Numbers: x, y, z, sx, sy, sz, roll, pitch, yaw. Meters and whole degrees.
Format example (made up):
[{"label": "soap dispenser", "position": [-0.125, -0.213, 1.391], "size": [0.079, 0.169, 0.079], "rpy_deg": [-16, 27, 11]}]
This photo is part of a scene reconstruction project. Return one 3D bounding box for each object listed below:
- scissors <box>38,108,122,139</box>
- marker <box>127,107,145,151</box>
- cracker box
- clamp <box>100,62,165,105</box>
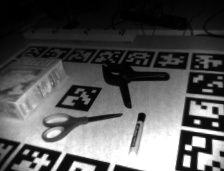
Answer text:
[{"label": "scissors", "position": [-0.076, 0.078, 0.534], "size": [0.203, 0.016, 0.087], "rpy_deg": [-12, 36, -6]}, {"label": "marker", "position": [0.056, 0.092, 0.484], "size": [0.019, 0.020, 0.121], "rpy_deg": [3, 38, 17]}, {"label": "cracker box", "position": [-0.271, -0.009, 0.652], "size": [0.162, 0.072, 0.214], "rpy_deg": [6, 40, 21]}, {"label": "clamp", "position": [0.032, -0.029, 0.657], "size": [0.166, 0.037, 0.200], "rpy_deg": [-32, 43, -28]}]
